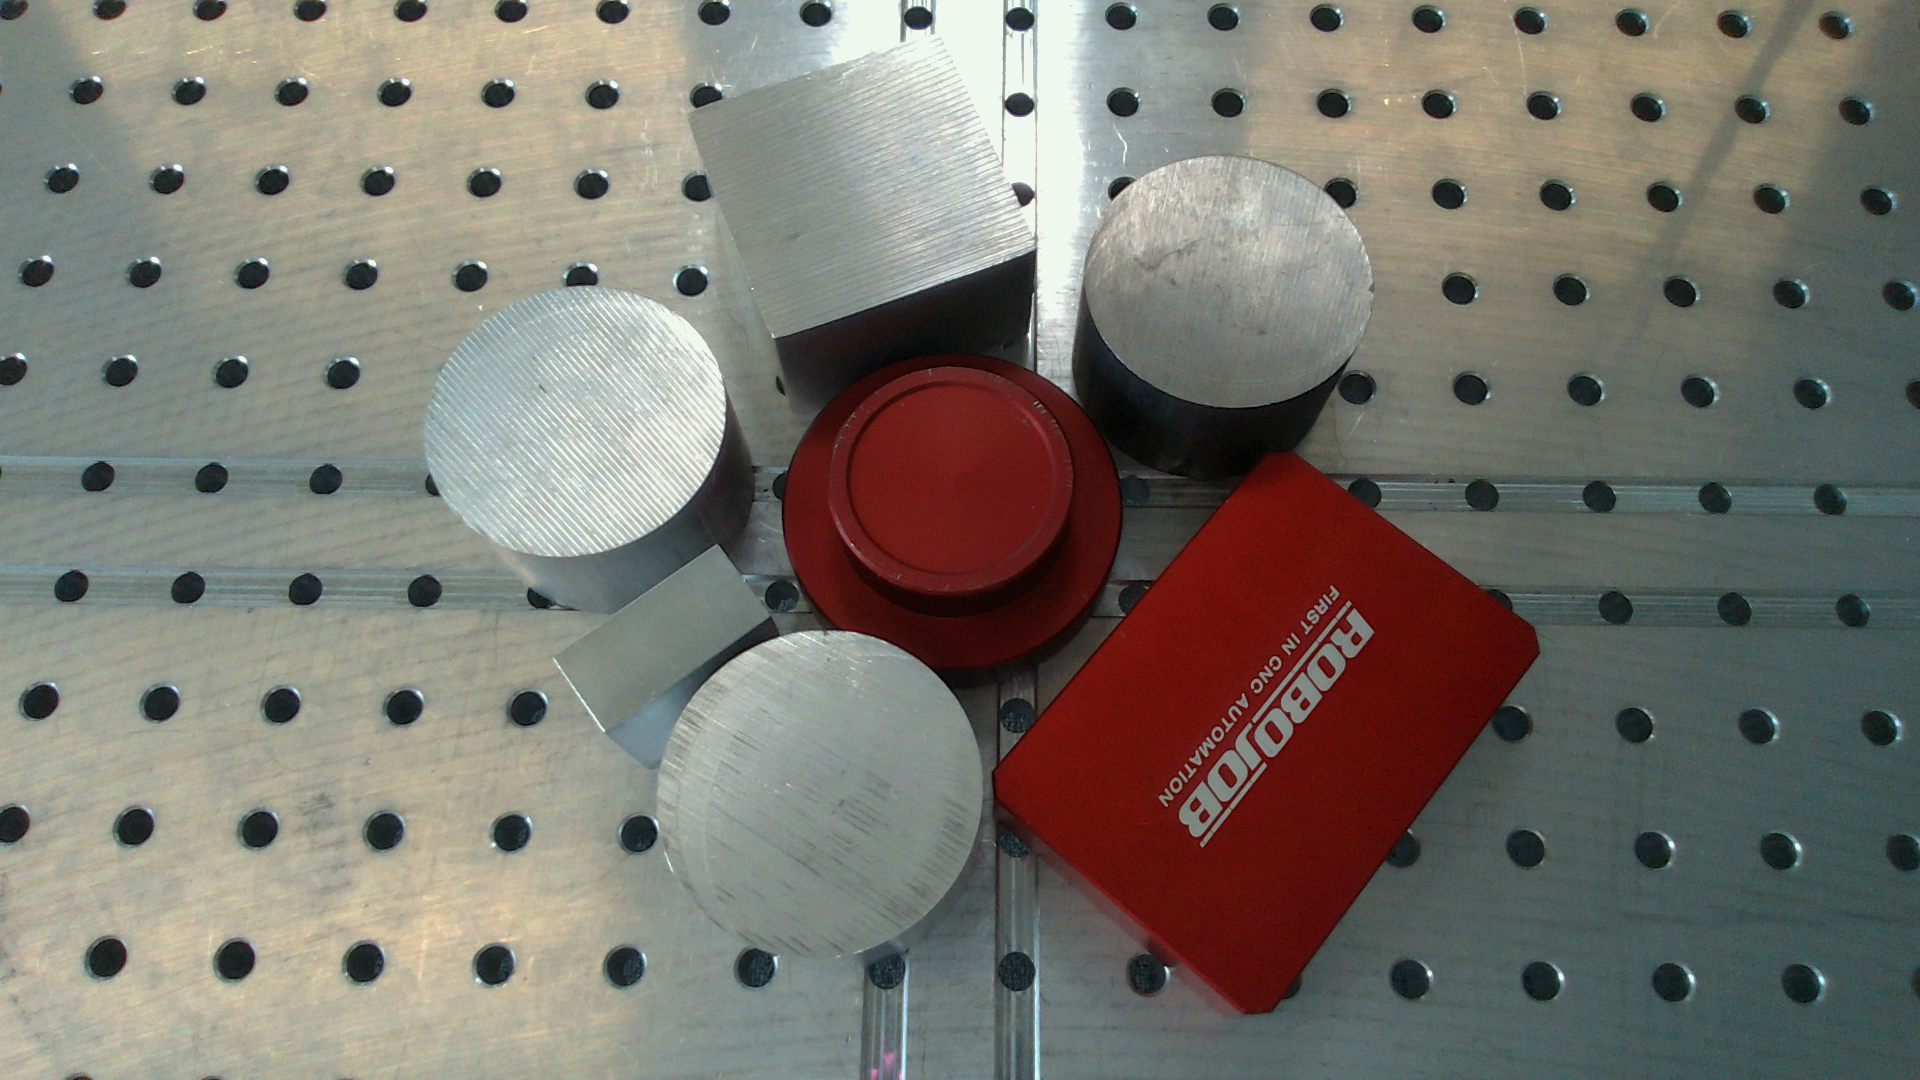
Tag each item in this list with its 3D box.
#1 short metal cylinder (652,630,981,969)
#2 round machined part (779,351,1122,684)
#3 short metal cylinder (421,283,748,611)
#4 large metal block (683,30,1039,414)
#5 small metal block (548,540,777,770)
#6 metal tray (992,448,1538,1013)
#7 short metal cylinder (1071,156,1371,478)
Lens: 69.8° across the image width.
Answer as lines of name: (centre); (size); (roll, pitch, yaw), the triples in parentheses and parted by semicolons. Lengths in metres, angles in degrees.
short metal cylinder: (-0.035, 0.069, 0.358); (0.080, 0.050, 0.080); (0, 70, 0)
round machined part: (-0.003, -0.011, 0.391); (0.098, 0.042, 0.098); (0, 70, 0)
short metal cylinder: (-0.104, -0.025, 0.392); (0.080, 0.050, 0.080); (0, 70, 0)
large metal block: (-0.029, -0.096, 0.419); (0.080, 0.050, 0.080); (-20, 71, -7)
small metal block: (-0.076, 0.032, 0.371); (0.050, 0.050, 0.025); (-36, 74, -12)
metal tray: (0.082, 0.050, 0.375); (0.090, 0.030, 0.130); (39, 74, 13)
short metal cylinder: (0.075, -0.065, 0.407); (0.080, 0.050, 0.080); (0, 70, 0)
